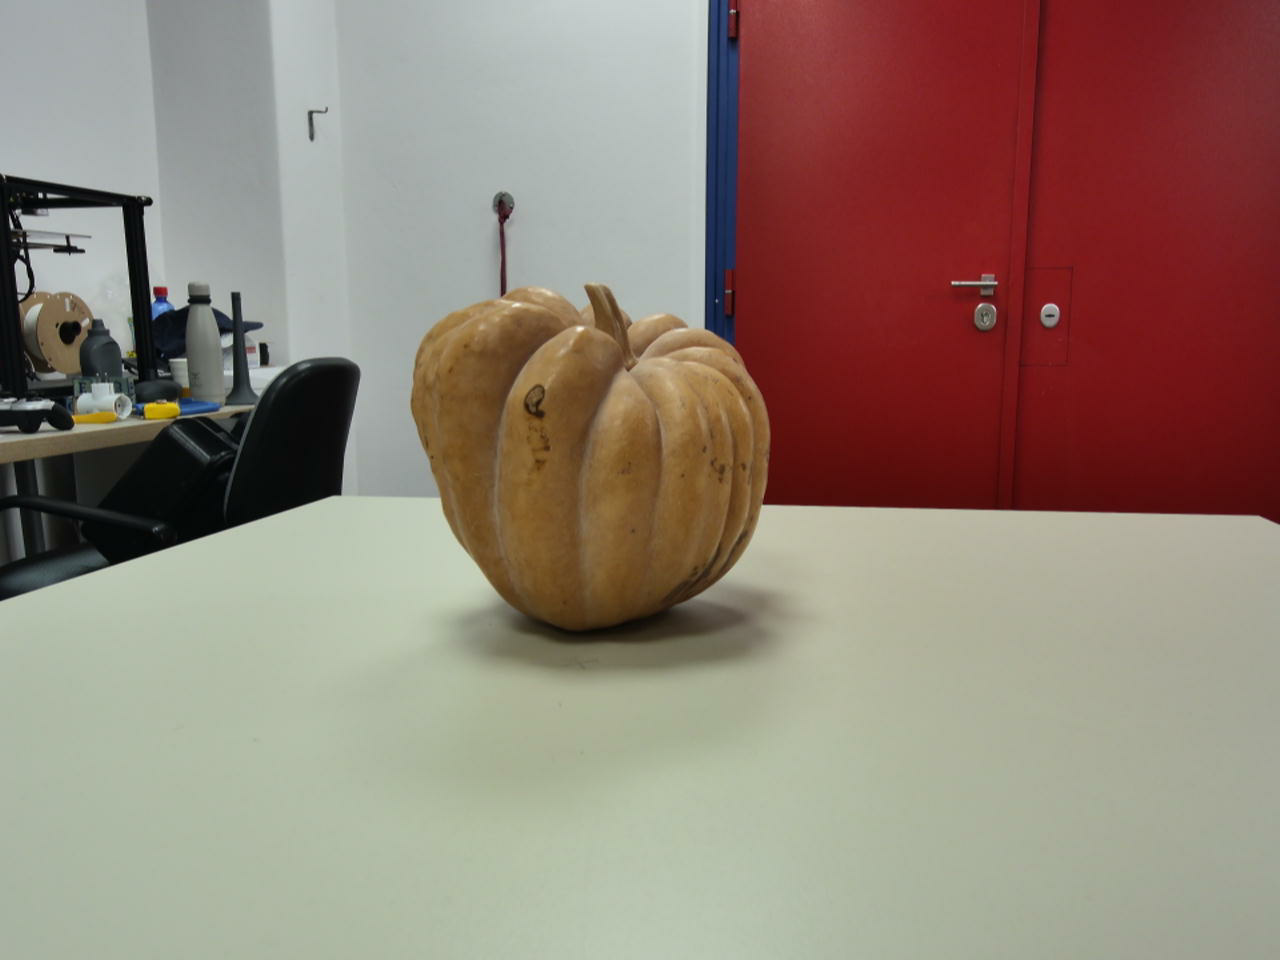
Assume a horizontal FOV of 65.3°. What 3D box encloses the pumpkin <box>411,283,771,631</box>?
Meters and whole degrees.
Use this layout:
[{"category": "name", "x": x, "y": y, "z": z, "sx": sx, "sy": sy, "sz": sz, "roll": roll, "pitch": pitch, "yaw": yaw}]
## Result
[{"category": "pumpkin", "x": -0.027, "y": -0.015, "z": 0.531, "sx": 0.199, "sy": 0.177, "sz": 0.198, "roll": 0, "pitch": 6, "yaw": 0}]
